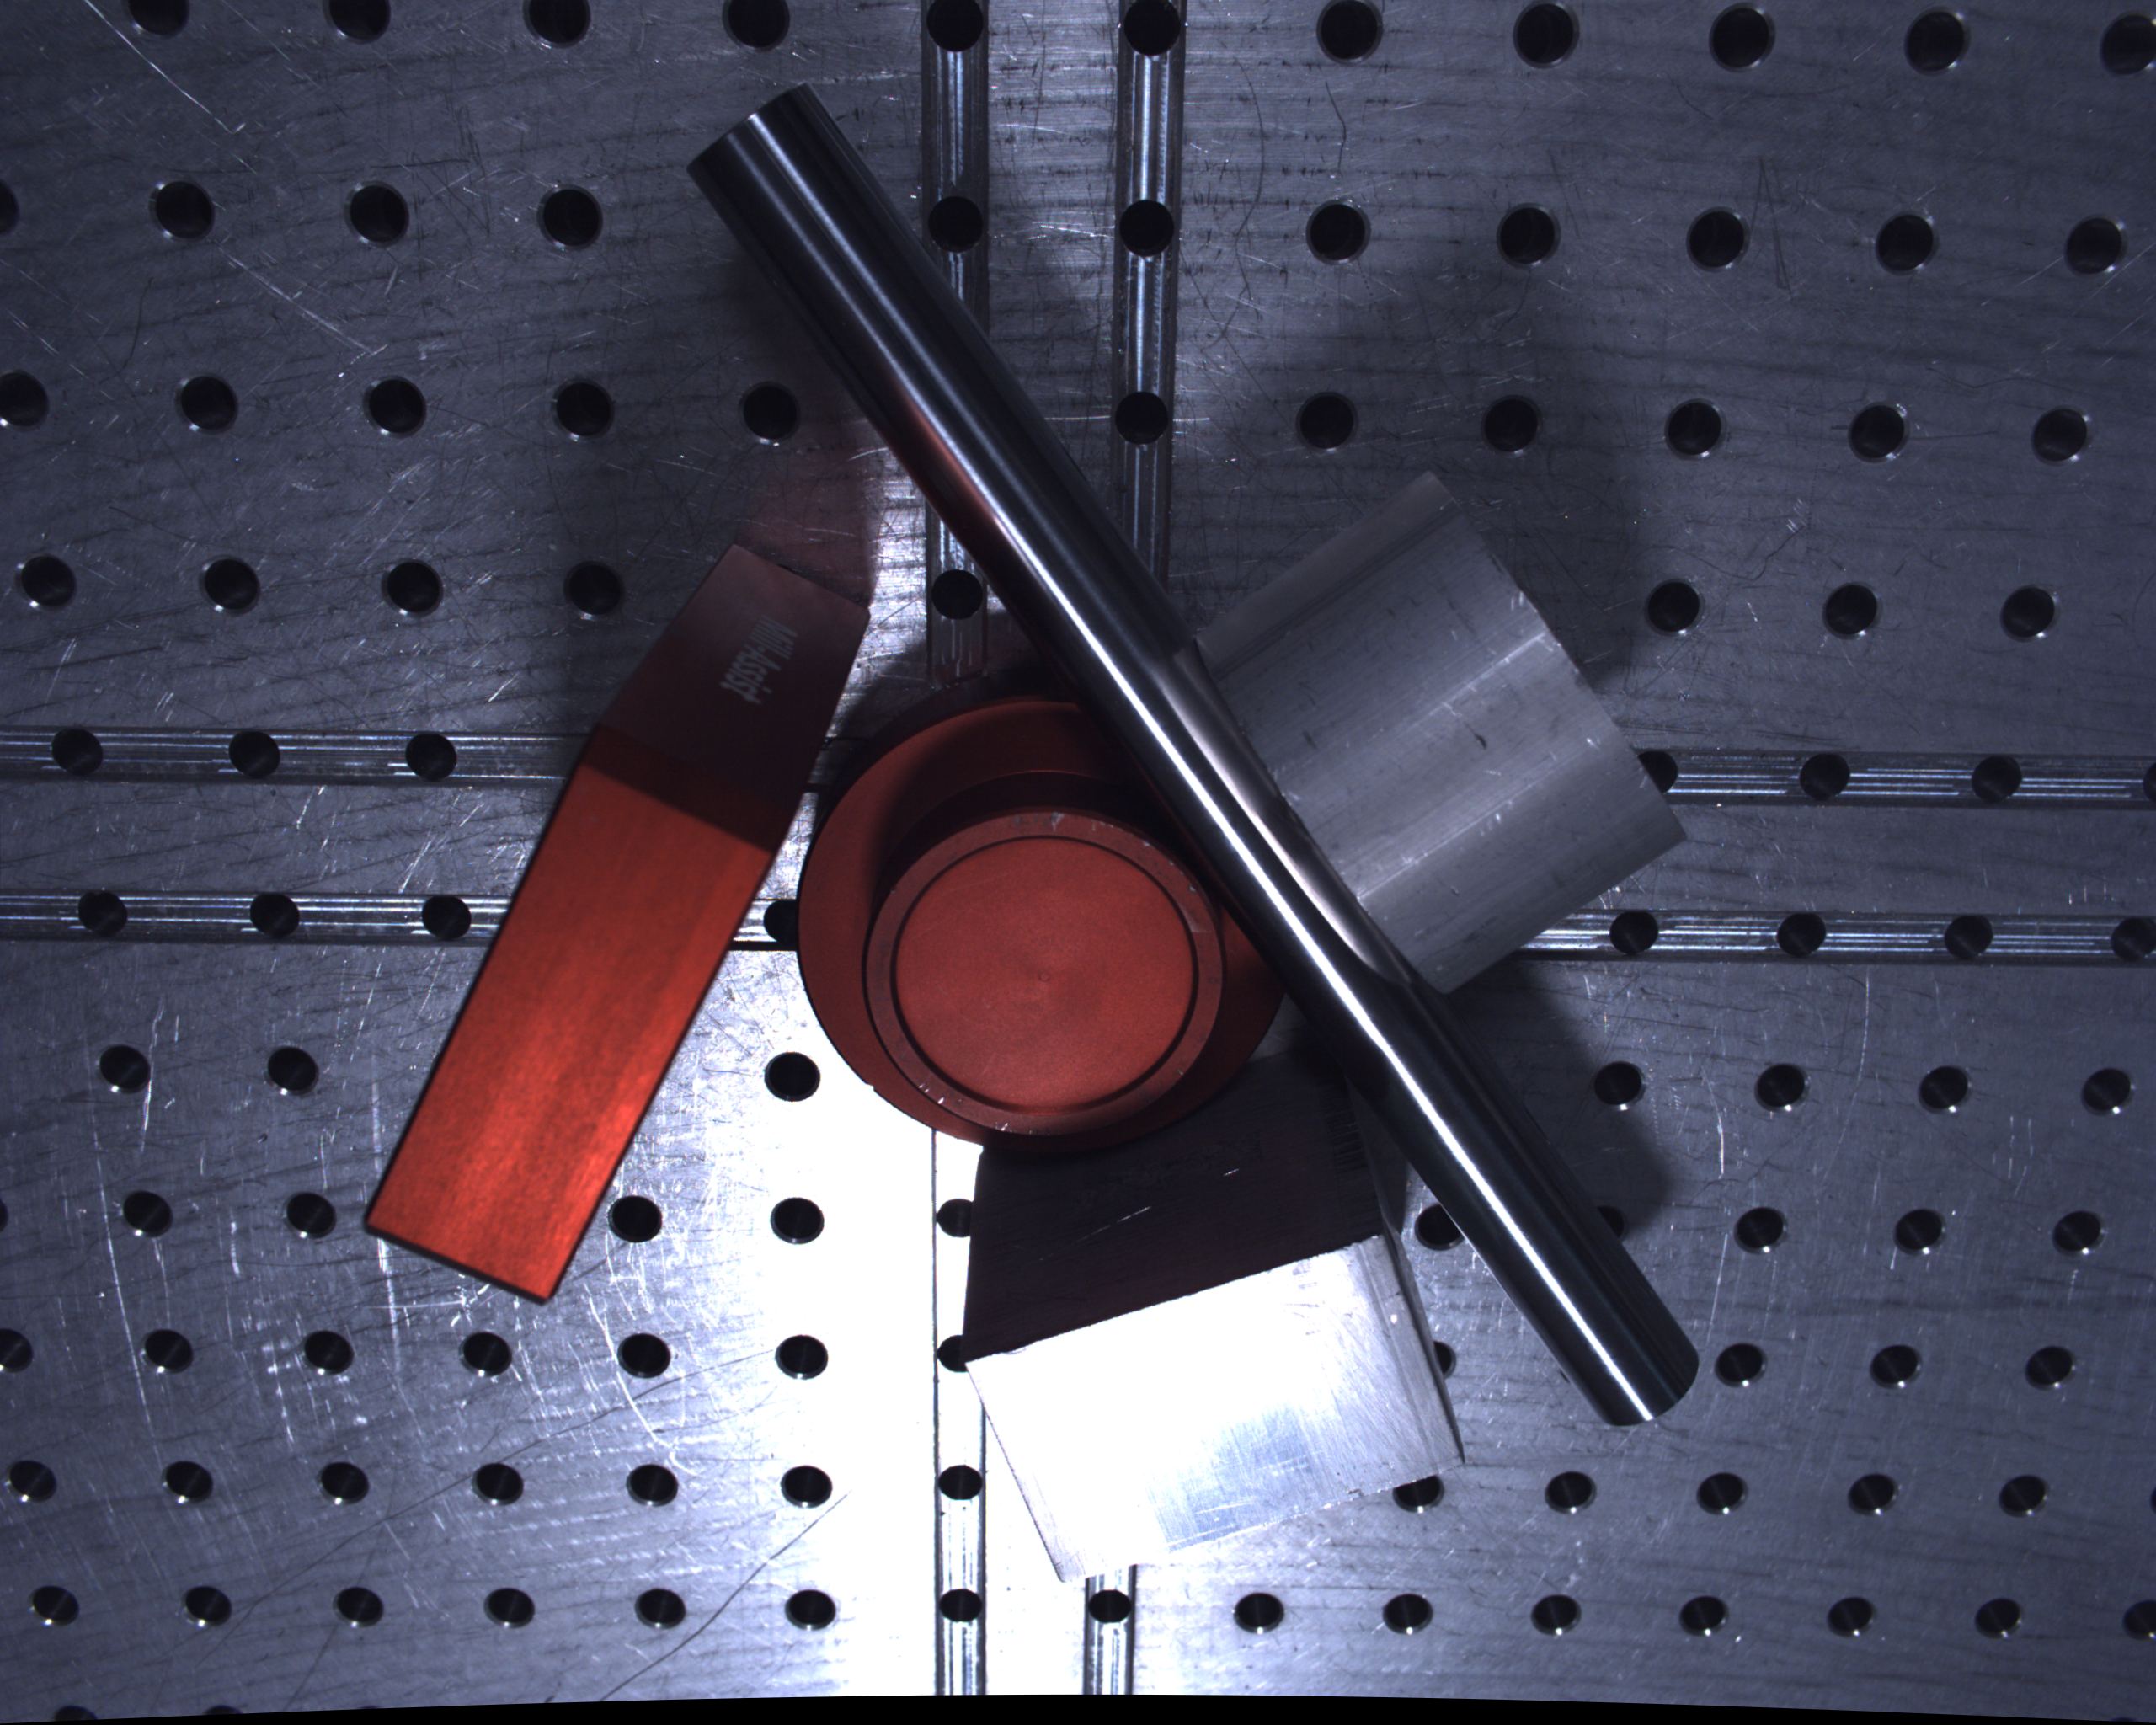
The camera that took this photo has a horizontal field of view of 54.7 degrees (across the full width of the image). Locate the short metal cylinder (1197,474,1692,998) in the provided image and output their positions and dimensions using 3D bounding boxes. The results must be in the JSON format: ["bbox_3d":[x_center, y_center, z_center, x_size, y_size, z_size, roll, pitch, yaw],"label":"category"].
[{"bbox_3d":[0.065,-0.023,0.375,0.050,0.080,0.080,-35,107,12],"label":"short metal cylinder"}]

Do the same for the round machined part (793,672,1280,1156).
[{"bbox_3d":[-0.007,0.015,0.409,0.099,0.042,0.097,0,110,-1],"label":"round machined part"}]

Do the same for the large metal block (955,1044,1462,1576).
[{"bbox_3d":[0.024,0.086,0.416,0.080,0.080,0.050,-18,109,6],"label":"large metal block"}]

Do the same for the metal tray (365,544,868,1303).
[{"bbox_3d":[-0.074,0.003,0.358,0.030,0.130,0.089,26,108,-9],"label":"metal tray"}]

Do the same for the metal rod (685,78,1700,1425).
[{"bbox_3d":[0.031,-0.008,0.388,0.025,0.025,0.299,-34,107,11],"label":"metal rod"}]
